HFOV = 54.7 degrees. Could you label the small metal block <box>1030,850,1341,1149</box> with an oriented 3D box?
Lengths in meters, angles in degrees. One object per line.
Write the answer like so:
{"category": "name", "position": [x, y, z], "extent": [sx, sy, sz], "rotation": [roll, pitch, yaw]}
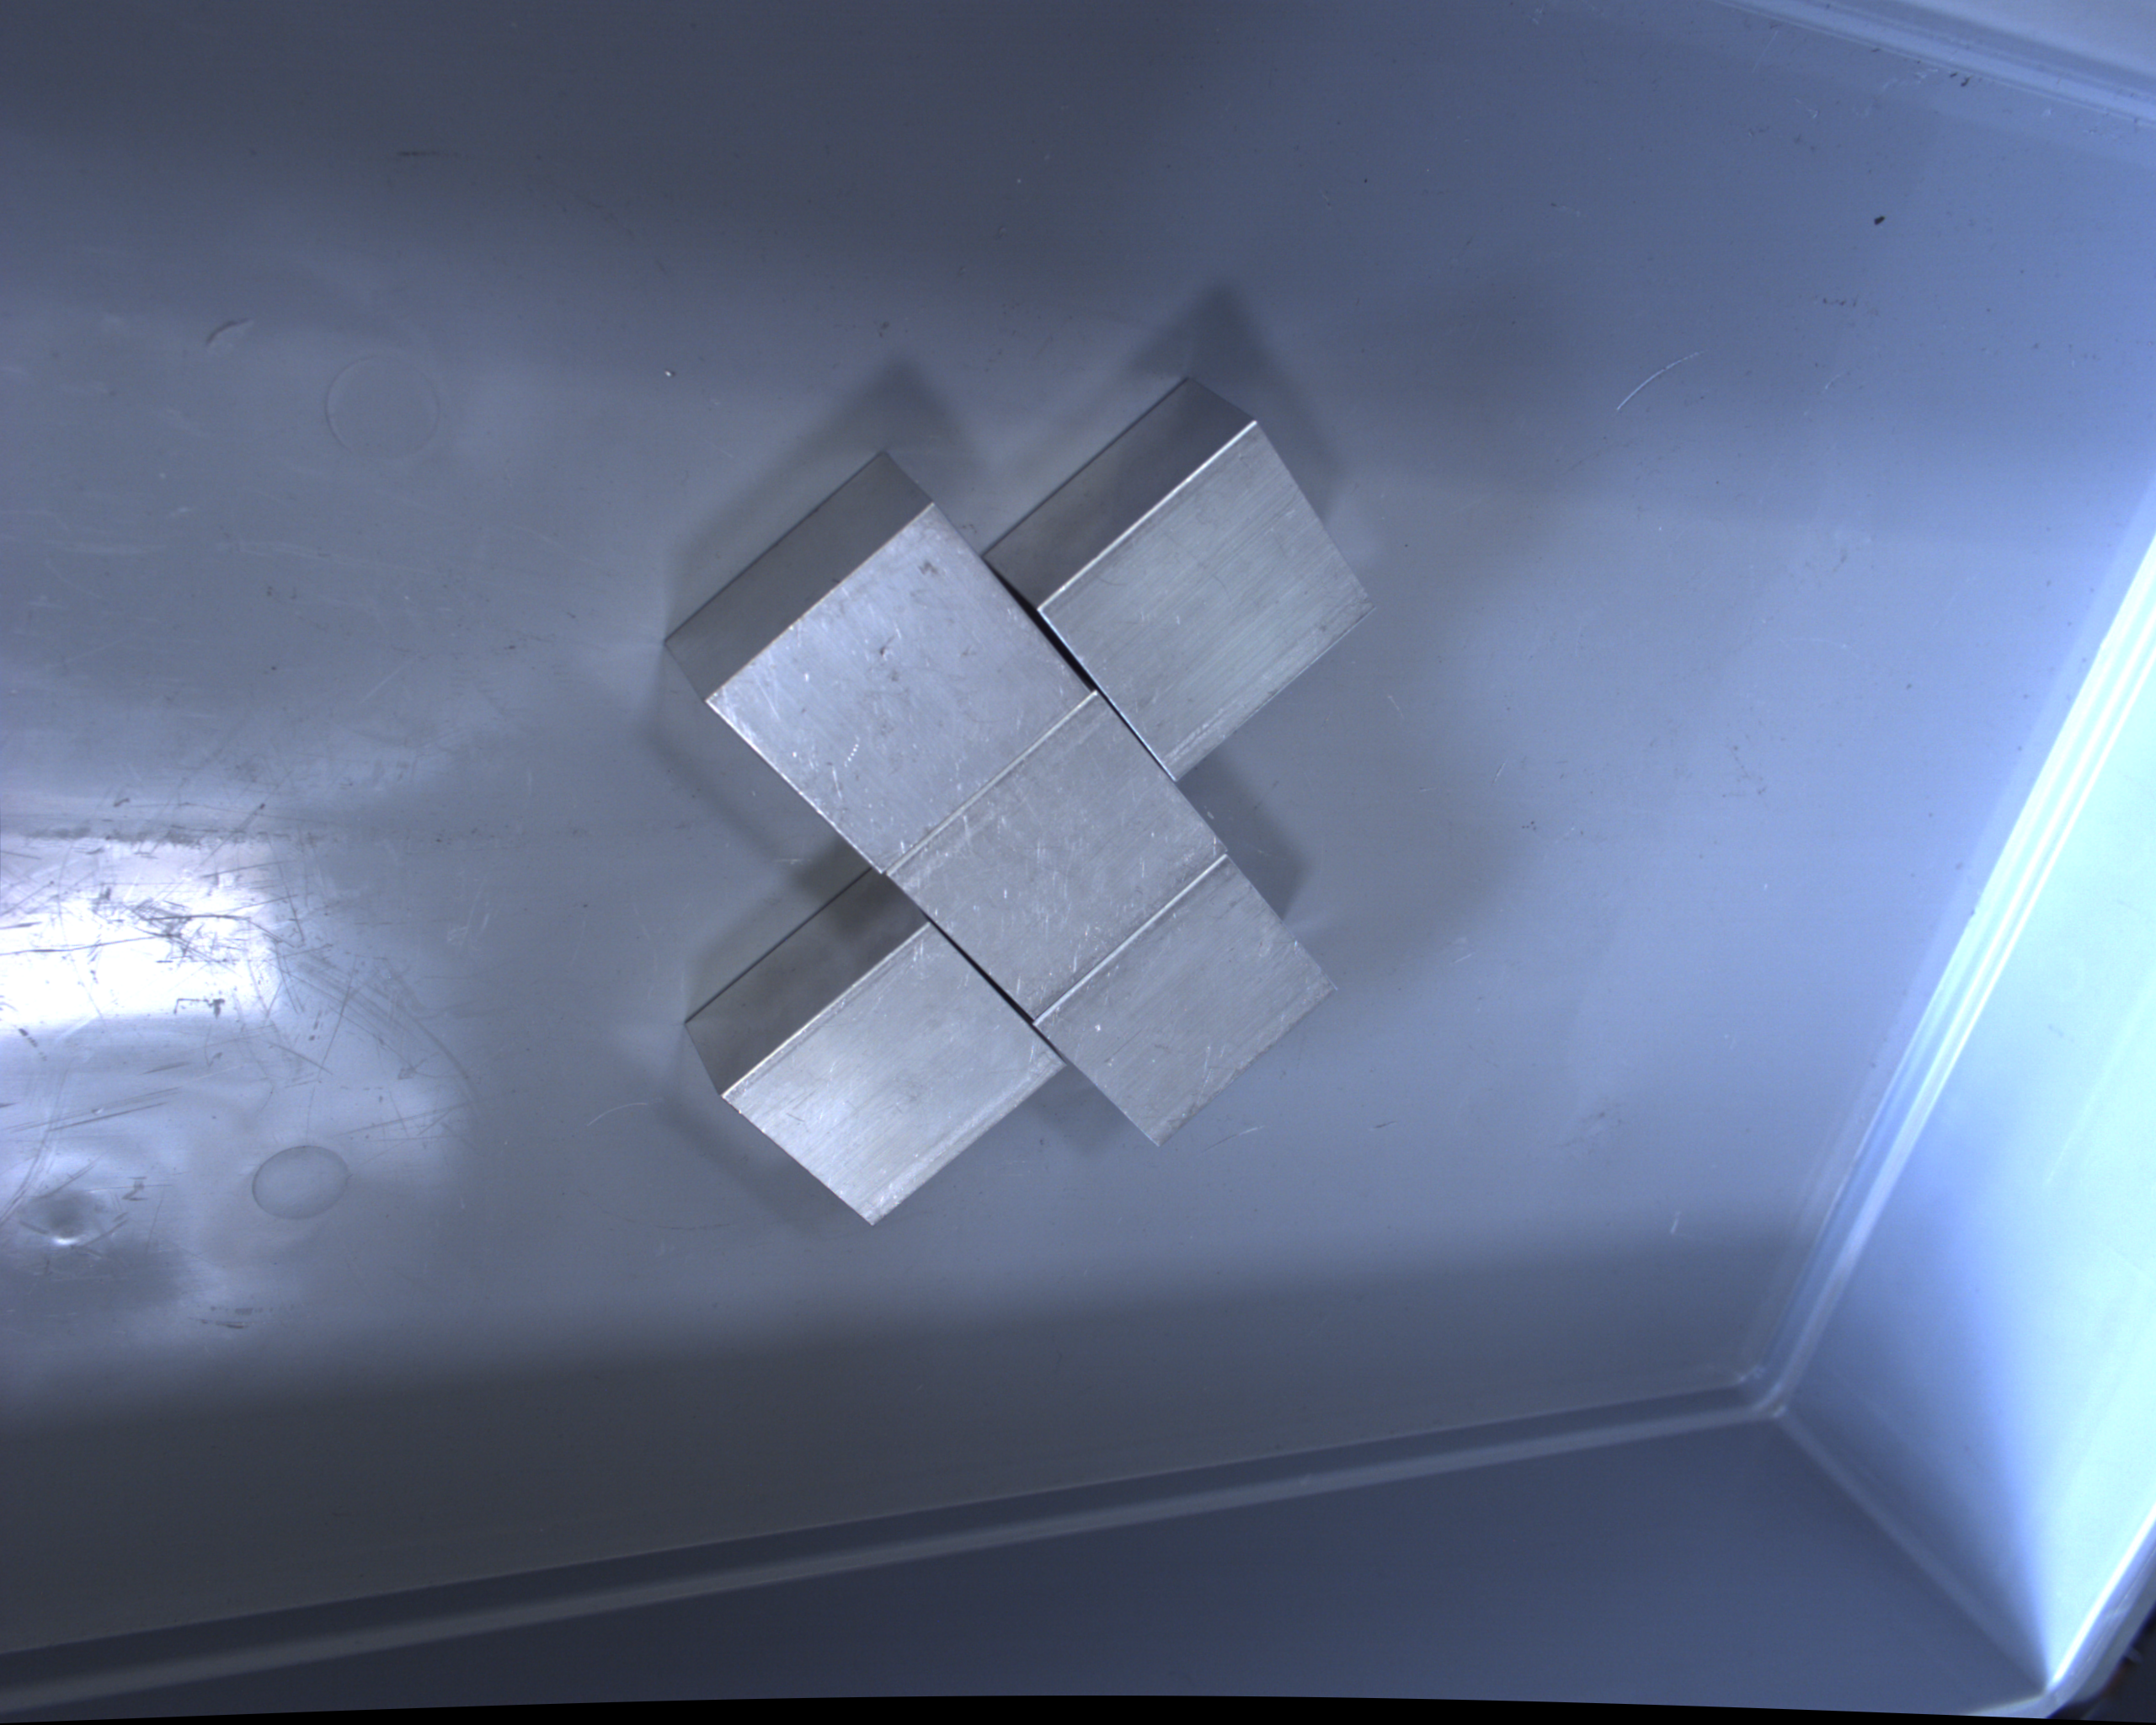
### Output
{"category": "small metal block", "position": [0.018, 0.023, 0.430], "extent": [0.050, 0.025, 0.050], "rotation": [-41, 130, 0]}

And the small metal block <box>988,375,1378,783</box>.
{"category": "small metal block", "position": [0.019, -0.052, 0.384], "extent": [0.050, 0.025, 0.050], "rotation": [-42, 130, -1]}

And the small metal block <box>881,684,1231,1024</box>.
{"category": "small metal block", "position": [-0.007, -0.006, 0.397], "extent": [0.050, 0.025, 0.050], "rotation": [-41, 130, 0]}

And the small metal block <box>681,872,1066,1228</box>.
{"category": "small metal block", "position": [-0.039, 0.036, 0.407], "extent": [0.050, 0.025, 0.050], "rotation": [-40, 130, 0]}

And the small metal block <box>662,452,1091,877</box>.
{"category": "small metal block", "position": [-0.035, -0.034, 0.366], "extent": [0.050, 0.025, 0.050], "rotation": [-41, 130, 0]}
